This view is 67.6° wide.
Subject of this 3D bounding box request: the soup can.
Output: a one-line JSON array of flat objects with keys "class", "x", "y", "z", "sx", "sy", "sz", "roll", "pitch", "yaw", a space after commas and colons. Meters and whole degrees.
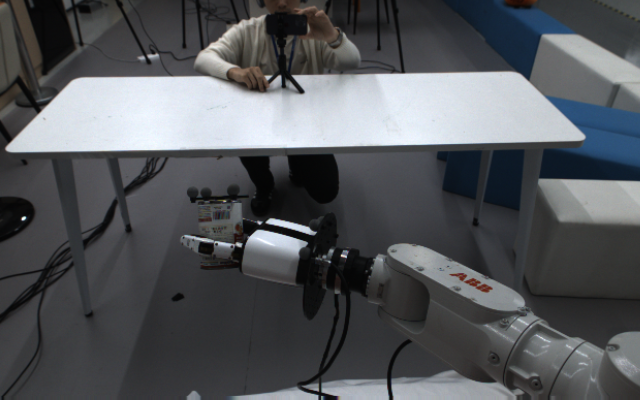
[{"class": "soup can", "x": -0.150, "y": 0.054, "z": 0.736, "sx": 0.067, "sy": 0.101, "sz": 0.067, "roll": -3, "pitch": -1, "yaw": 0}]
